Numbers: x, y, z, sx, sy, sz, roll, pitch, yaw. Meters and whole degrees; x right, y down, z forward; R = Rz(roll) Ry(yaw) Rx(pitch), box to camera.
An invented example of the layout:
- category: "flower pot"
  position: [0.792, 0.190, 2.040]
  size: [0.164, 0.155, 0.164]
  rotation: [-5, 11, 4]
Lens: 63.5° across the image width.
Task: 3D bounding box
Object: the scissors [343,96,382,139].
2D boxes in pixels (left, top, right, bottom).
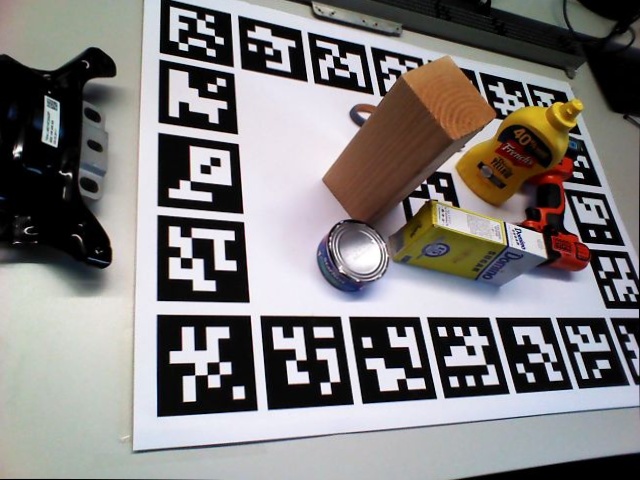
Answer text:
- category: "scissors"
  position: [0.131, -0.161, 0.762]
  size: [0.202, 0.016, 0.087]
  rotation: [6, 61, -22]

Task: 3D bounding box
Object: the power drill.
- category: "power drill"
  position: [0.321, -0.055, 0.776]
  size: [0.184, 0.058, 0.186]
  rotation: [16, 69, -17]

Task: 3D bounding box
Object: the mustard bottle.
- category: "mustard bottle"
  position: [0.295, -0.127, 0.727]
  size: [0.096, 0.193, 0.058]
  rotation: [48, 58, 1]

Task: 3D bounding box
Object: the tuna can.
- category: "tuna can"
  position: [0.045, 0.018, 0.628]
  size: [0.085, 0.034, 0.085]
  rotation: [10, 64, -21]

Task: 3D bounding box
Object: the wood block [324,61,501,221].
- category: "wood block"
  position: [0.100, -0.107, 0.623]
  size: [0.090, 0.208, 0.090]
  rotation: [-28, 82, -32]

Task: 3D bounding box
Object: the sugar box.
- category: "sugar box"
  position: [0.206, 0.010, 0.675]
  size: [0.176, 0.093, 0.045]
  rotation: [16, 58, -19]
